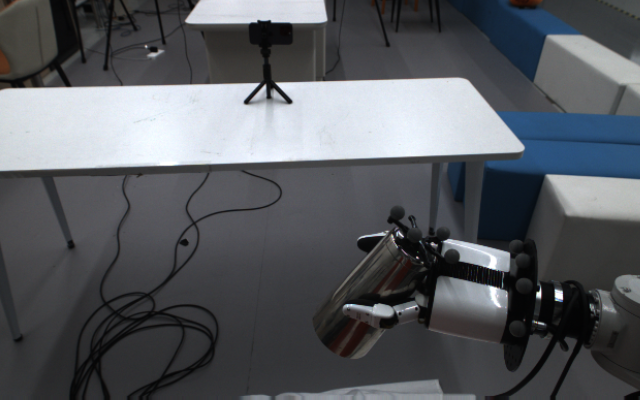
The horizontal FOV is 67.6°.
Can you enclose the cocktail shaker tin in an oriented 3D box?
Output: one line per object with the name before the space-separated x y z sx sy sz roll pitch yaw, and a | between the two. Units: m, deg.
cocktail shaker tin | 0.071 0.110 0.618 0.093 0.170 0.093 26 32 -18
